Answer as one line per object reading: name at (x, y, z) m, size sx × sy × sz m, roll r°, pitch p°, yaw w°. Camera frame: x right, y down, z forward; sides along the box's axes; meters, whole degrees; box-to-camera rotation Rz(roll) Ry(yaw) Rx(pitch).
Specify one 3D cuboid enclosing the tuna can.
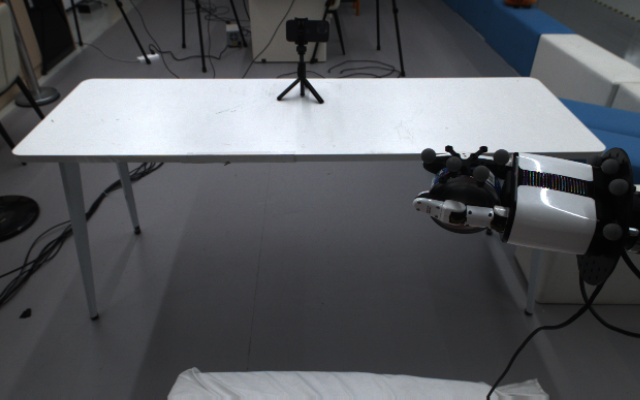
tuna can at (0.176, -0.004, 0.587) m, size 0.085 × 0.085 × 0.034 m, roll 12°, pitch 39°, yaw 13°
